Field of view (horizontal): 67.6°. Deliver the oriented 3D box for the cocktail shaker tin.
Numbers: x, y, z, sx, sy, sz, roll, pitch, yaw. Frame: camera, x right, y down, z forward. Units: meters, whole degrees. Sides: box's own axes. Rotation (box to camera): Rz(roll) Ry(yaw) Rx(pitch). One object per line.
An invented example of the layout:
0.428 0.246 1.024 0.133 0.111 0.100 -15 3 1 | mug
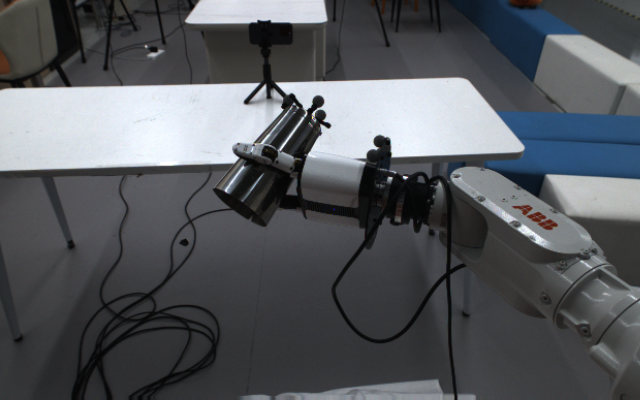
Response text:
-0.071 -0.060 0.716 0.093 0.093 0.170 24 69 28 | cocktail shaker tin
